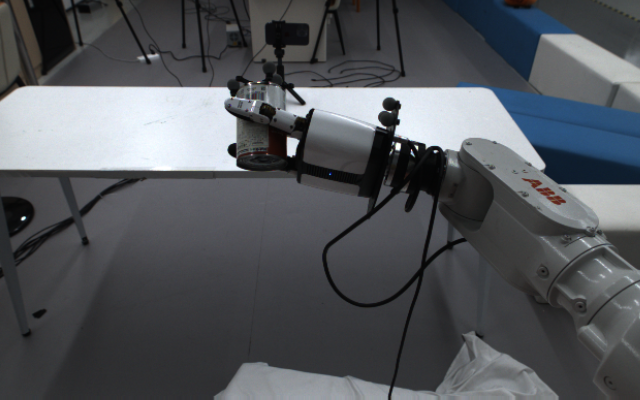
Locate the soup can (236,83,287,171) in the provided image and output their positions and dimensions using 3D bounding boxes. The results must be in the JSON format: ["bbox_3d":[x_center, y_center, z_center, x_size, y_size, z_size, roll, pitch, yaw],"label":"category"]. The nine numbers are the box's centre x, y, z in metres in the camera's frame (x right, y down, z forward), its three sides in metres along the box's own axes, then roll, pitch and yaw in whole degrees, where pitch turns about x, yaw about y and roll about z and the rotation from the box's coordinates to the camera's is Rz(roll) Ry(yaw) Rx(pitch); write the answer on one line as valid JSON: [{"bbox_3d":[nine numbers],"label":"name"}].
[{"bbox_3d":[-0.076,-0.096,0.640,0.067,0.067,0.101,-2,77,-6],"label":"soup can"}]
